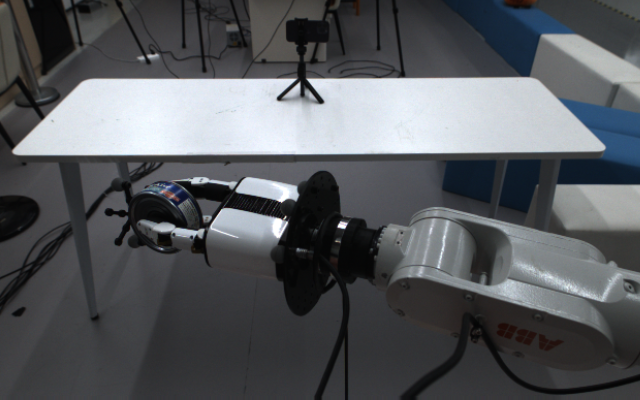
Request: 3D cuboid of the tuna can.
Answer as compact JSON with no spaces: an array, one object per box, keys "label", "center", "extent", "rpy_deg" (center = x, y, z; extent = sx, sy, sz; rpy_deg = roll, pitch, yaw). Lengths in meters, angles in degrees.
[{"label":"tuna can","center":[-0.185,0.021,0.585],"extent":[0.085,0.085,0.034],"rpy_deg":[12,29,14]}]
